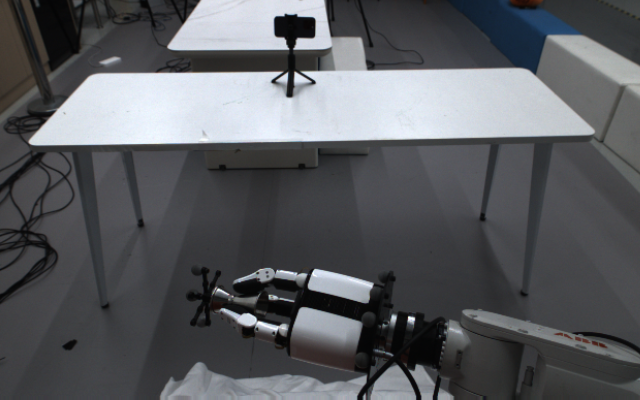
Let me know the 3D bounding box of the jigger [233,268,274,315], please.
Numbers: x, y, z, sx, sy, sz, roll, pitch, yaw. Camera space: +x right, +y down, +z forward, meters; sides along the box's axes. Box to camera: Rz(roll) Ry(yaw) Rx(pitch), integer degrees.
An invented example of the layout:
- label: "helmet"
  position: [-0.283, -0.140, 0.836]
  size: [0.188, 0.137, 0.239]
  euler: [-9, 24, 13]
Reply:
- label: "jigger"
  position: [-0.102, 0.137, 0.658]
  size: [0.071, 0.043, 0.043]
  euler: [5, 34, 17]
